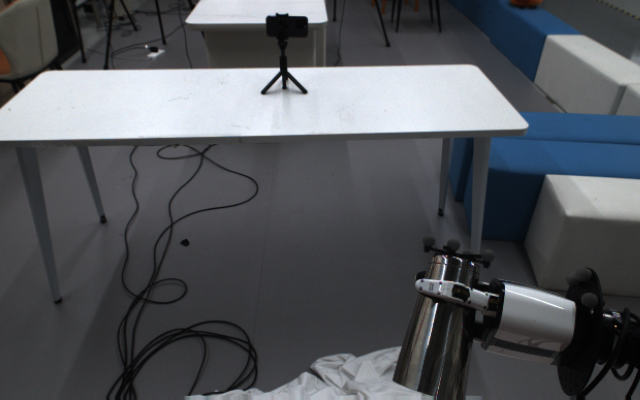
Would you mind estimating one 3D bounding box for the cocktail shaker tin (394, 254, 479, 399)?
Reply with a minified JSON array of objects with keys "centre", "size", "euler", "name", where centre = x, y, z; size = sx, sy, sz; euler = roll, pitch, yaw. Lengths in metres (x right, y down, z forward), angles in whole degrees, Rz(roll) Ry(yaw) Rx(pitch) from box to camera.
[{"centre":[0.162,0.159,0.632],"size":[0.093,0.093,0.170],"euler":[13,76,15],"name":"cocktail shaker tin"}]
